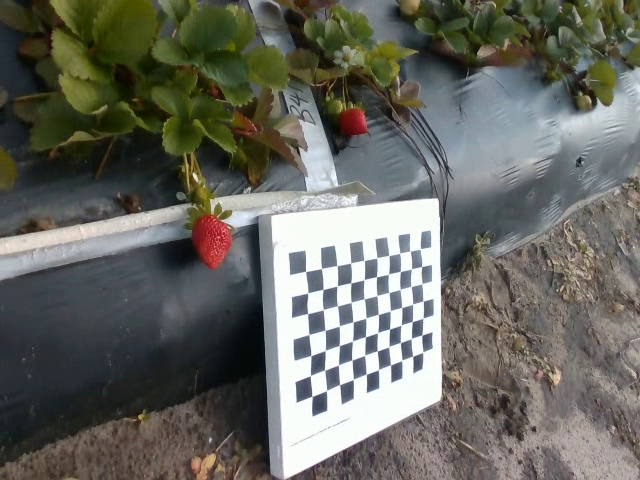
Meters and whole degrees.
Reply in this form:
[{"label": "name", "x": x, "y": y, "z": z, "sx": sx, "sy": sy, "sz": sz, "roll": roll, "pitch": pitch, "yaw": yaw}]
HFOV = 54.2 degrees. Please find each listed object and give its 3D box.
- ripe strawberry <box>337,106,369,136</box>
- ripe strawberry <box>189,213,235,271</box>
[{"label": "ripe strawberry", "x": 0.042, "y": -0.134, "z": 0.695, "sx": 0.037, "sy": 0.031, "sz": 0.048, "roll": 11, "pitch": 32, "yaw": -45}, {"label": "ripe strawberry", "x": -0.091, "y": 0.003, "z": 0.509, "sx": 0.030, "sy": 0.053, "sz": 0.047, "roll": -20, "pitch": -44, "yaw": 29}]
